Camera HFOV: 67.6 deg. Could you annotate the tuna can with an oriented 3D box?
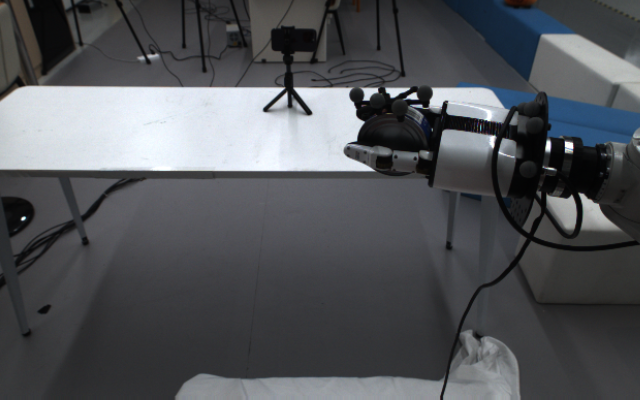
[{"bbox_3d":[0.092,-0.075,0.587,0.085,0.085,0.034,14,41,16],"label":"tuna can"}]
